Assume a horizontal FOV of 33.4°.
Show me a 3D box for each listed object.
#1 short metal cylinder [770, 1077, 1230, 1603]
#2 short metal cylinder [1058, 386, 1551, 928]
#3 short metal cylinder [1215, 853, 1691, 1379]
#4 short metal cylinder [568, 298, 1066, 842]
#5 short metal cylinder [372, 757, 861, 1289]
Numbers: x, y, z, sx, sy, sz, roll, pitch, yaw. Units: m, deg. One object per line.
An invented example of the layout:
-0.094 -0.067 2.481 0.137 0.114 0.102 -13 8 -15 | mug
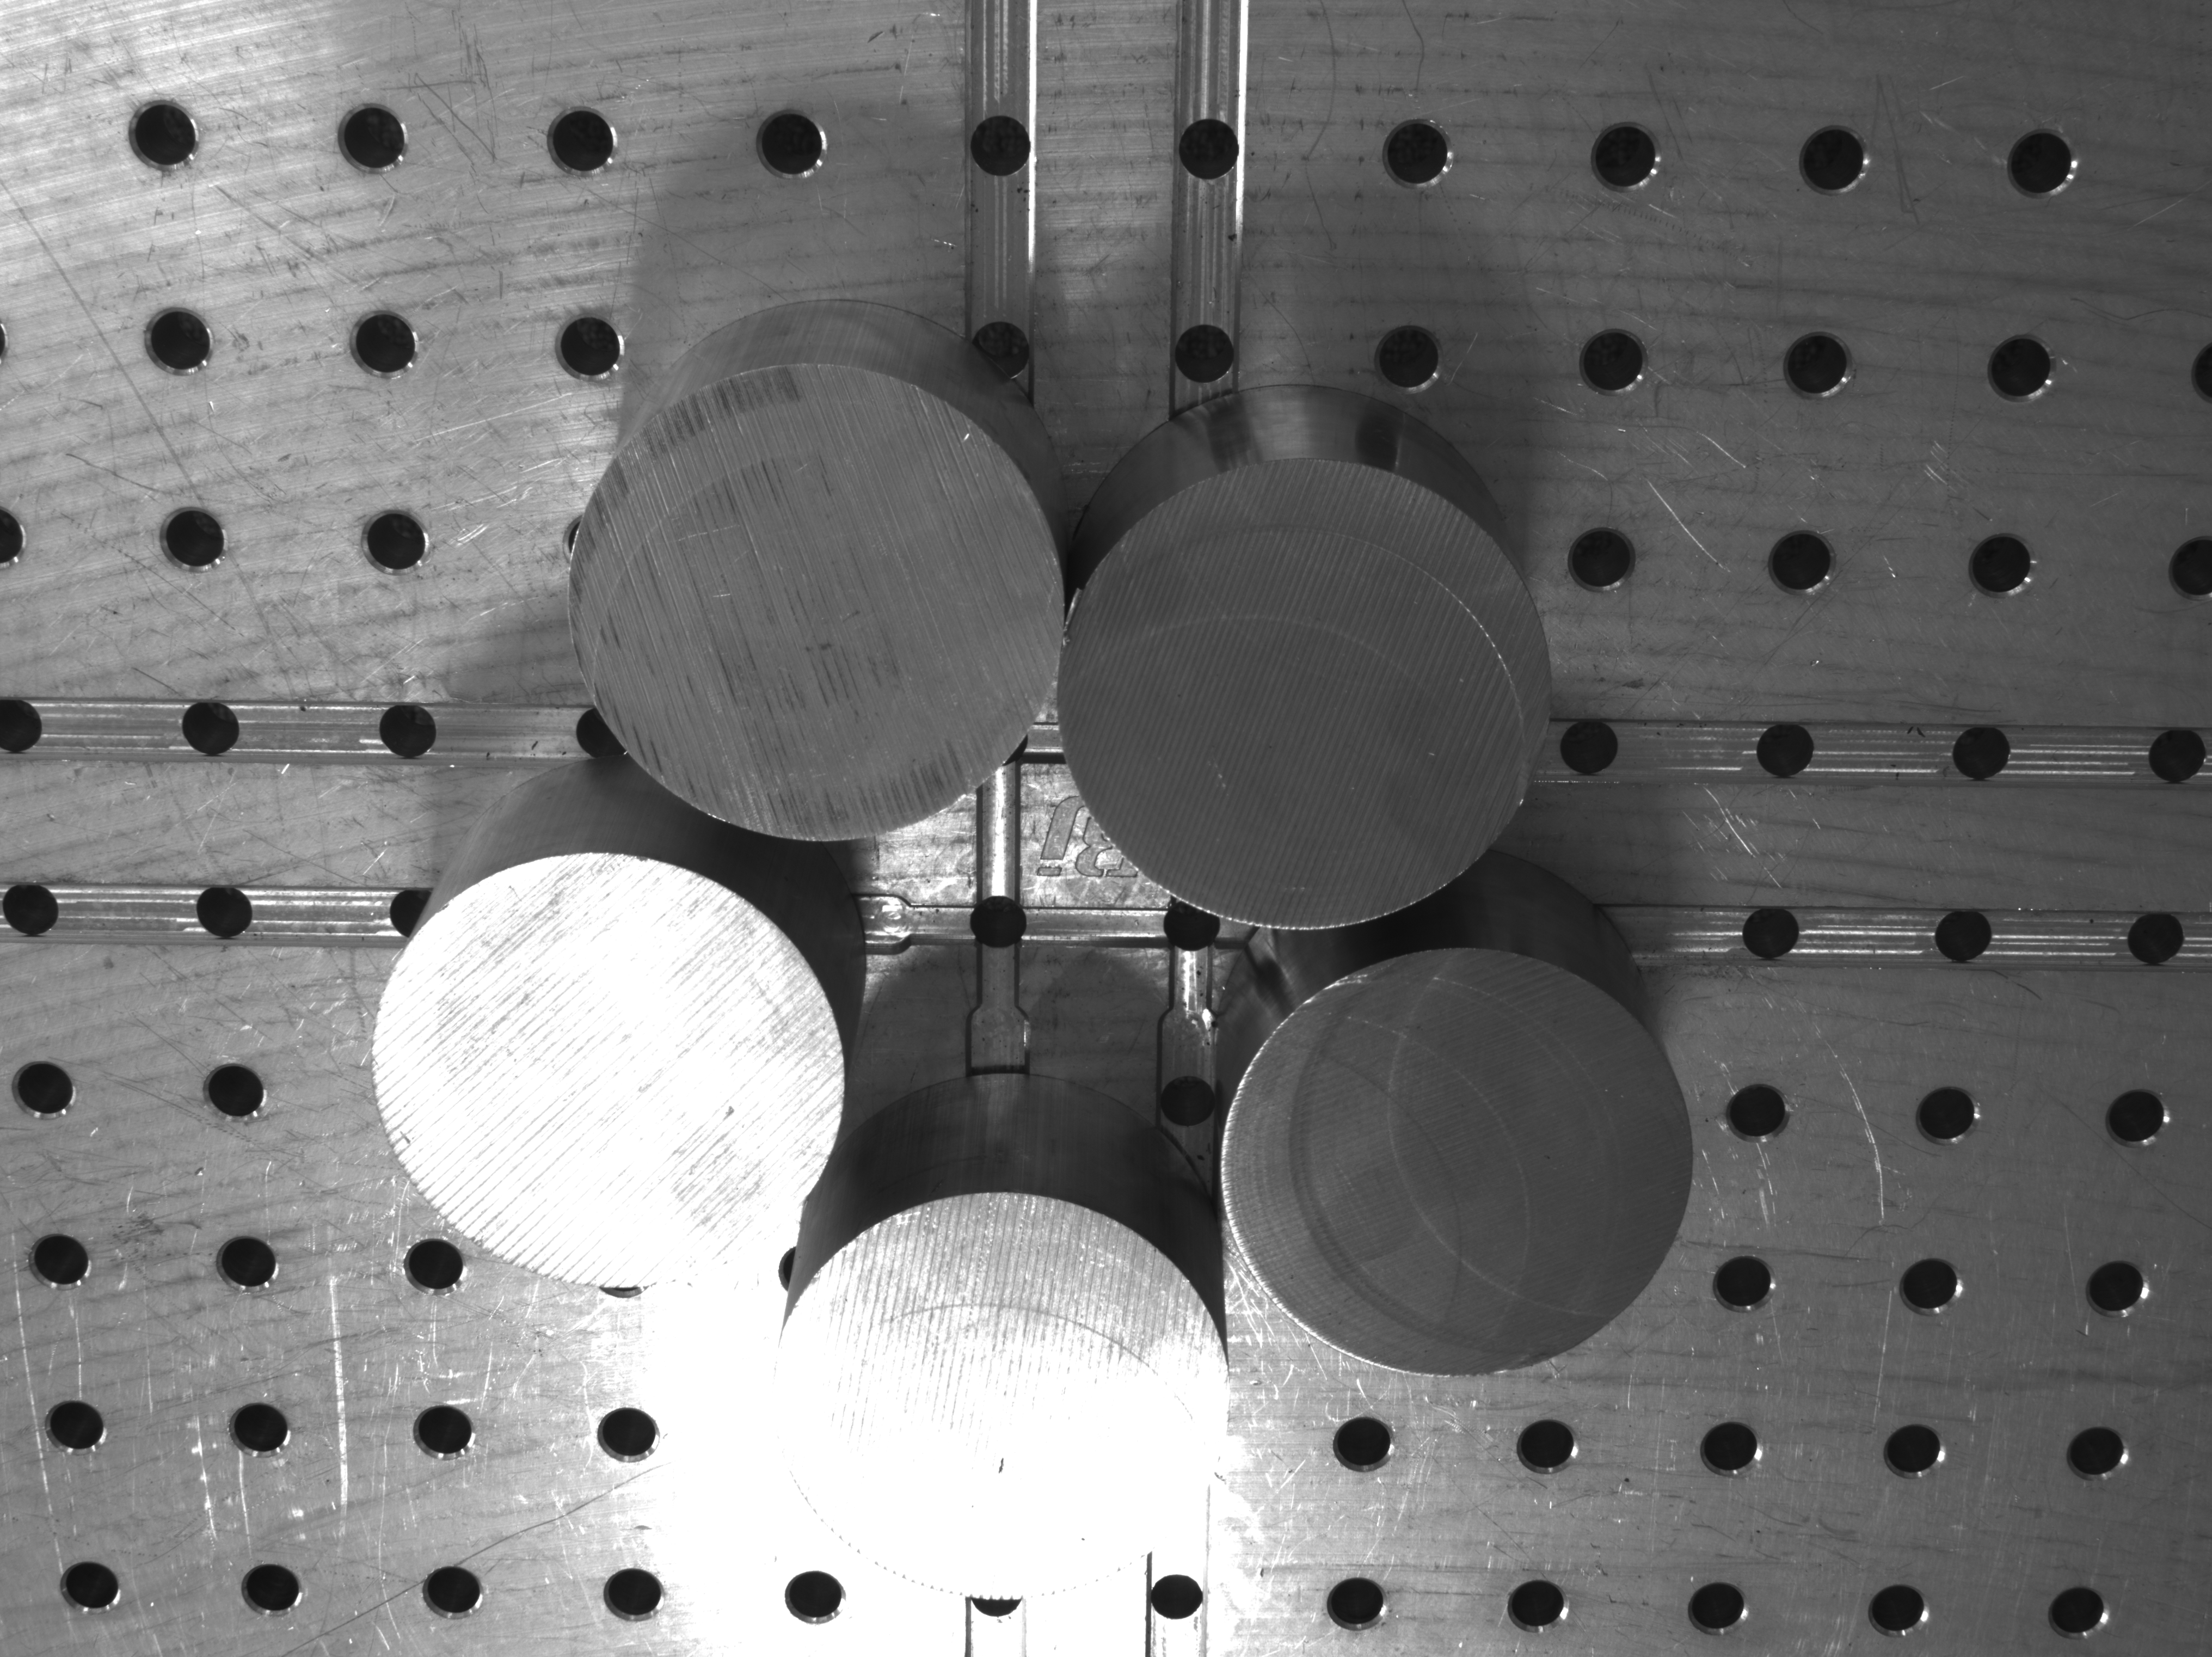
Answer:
-0.018 0.092 0.665 0.080 0.050 0.080 0 110 1 | short metal cylinder
0.032 -0.030 0.621 0.080 0.050 0.080 0 110 0 | short metal cylinder
0.059 0.050 0.650 0.080 0.050 0.080 0 111 0 | short metal cylinder
-0.046 -0.044 0.616 0.080 0.050 0.080 0 110 0 | short metal cylinder
-0.084 0.033 0.645 0.080 0.050 0.080 0 110 0 | short metal cylinder
